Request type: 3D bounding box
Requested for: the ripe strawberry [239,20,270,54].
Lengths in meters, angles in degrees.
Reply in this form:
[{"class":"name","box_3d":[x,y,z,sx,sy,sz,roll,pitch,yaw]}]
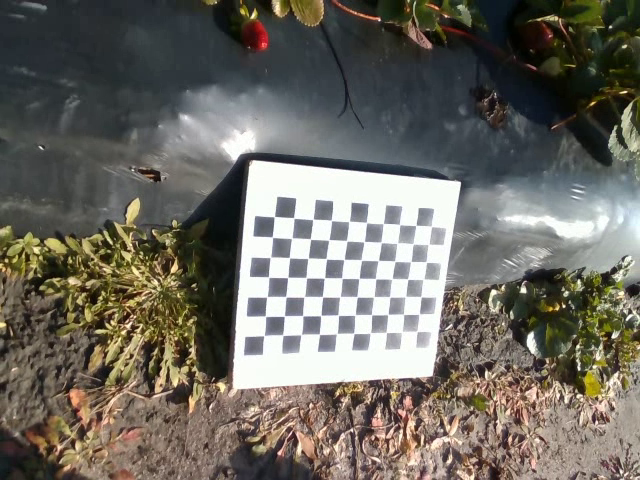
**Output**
[{"class":"ripe strawberry","box_3d":[-0.063,-0.185,0.532,0.028,0.031,0.041,-24,52,-16]}]
